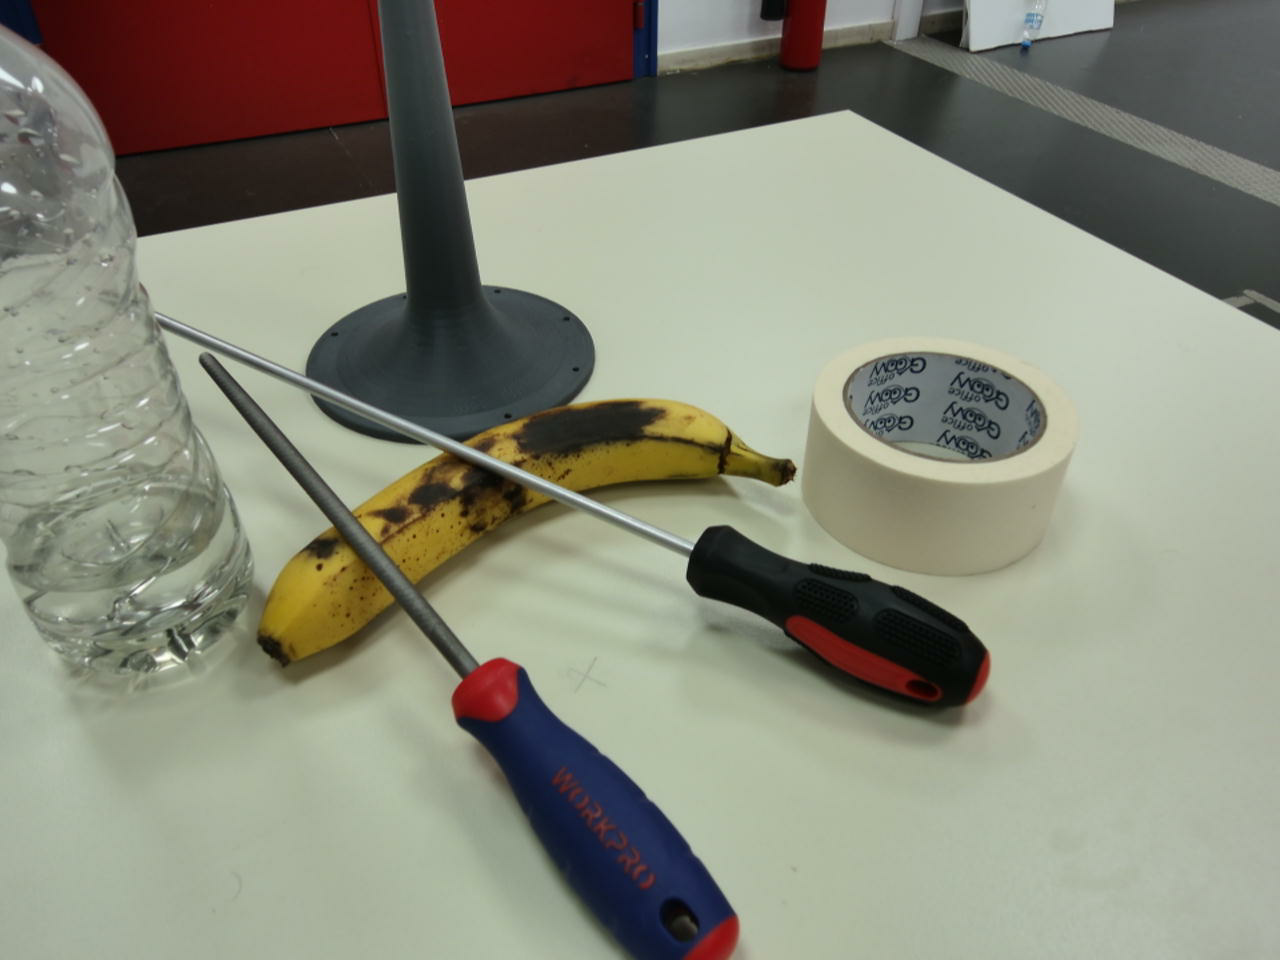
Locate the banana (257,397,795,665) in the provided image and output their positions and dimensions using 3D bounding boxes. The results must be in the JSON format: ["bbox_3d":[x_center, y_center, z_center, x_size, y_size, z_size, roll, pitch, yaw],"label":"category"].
[{"bbox_3d":[-0.049,0.006,0.410,0.222,0.037,0.084,-17,41,-22],"label":"banana"}]
